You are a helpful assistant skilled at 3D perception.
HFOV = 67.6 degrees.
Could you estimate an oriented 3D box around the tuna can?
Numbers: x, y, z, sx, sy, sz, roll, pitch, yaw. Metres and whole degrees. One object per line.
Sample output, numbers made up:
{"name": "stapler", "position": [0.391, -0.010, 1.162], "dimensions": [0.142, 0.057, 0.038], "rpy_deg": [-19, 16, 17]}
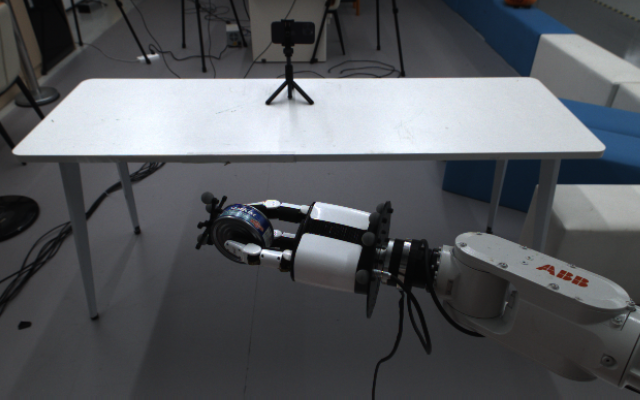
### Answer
{"name": "tuna can", "position": [-0.109, 0.047, 0.686], "dimensions": [0.085, 0.085, 0.034], "rpy_deg": [11, 35, 13]}
